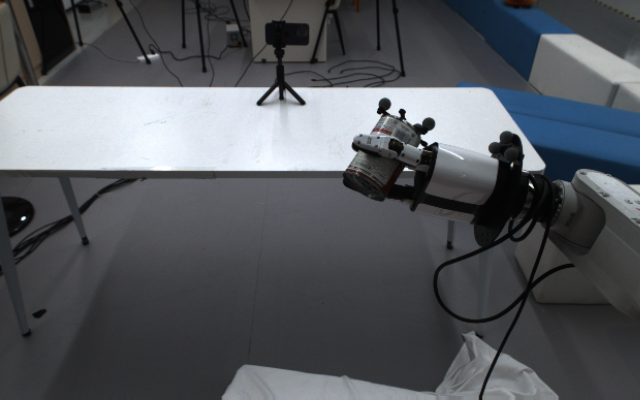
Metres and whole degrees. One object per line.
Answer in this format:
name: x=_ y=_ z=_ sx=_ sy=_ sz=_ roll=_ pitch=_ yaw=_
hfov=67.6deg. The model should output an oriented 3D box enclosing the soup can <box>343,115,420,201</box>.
soup can: x=0.086 y=-0.060 z=0.672 sx=0.067 sy=0.067 sz=0.101 roll=27 pitch=76 yaw=31
